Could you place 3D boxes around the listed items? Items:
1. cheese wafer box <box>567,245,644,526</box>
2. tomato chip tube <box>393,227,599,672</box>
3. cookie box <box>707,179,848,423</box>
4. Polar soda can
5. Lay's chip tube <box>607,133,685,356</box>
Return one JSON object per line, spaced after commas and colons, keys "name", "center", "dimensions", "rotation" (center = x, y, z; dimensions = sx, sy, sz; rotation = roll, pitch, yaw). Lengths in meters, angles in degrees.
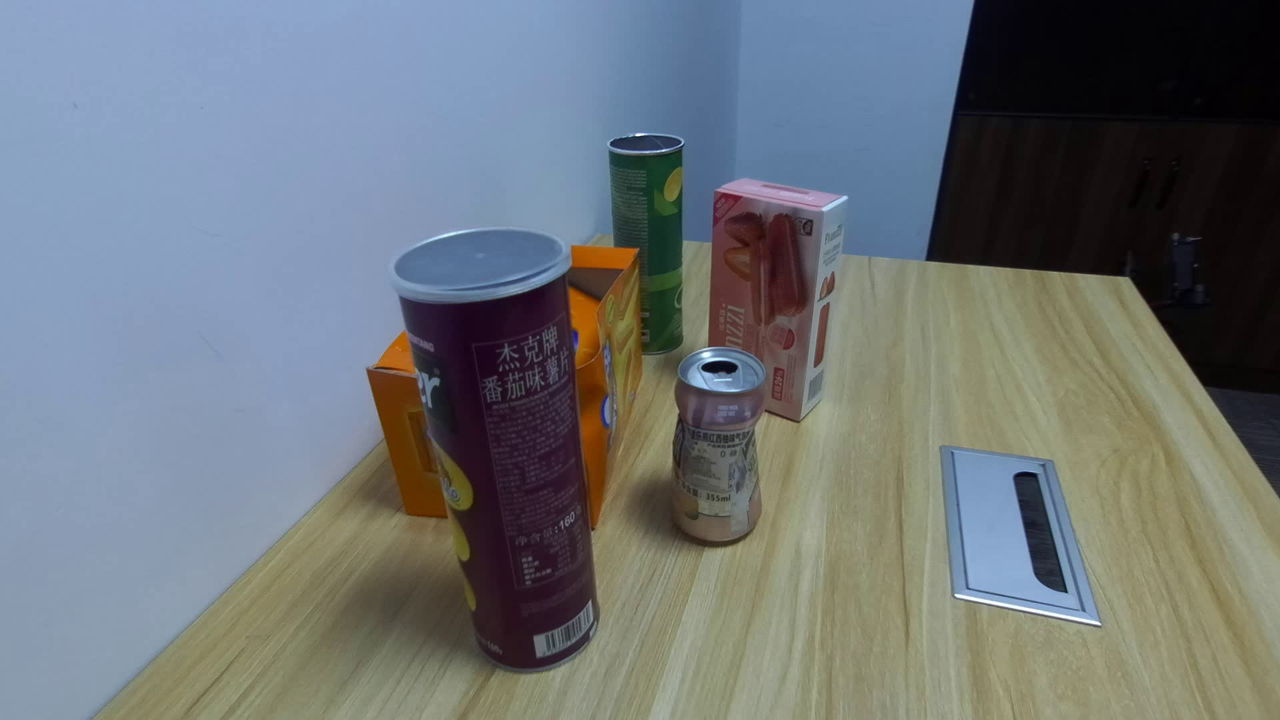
{"name": "cheese wafer box", "center": [-0.084, 0.011, 0.560], "dimensions": [0.152, 0.132, 0.230], "rotation": [5, 30, 7]}
{"name": "tomato chip tube", "center": [-0.065, 0.057, 0.369], "dimensions": [0.078, 0.234, 0.078], "rotation": [-2, 29, 1]}
{"name": "cookie box", "center": [0.109, -0.048, 0.587], "dimensions": [0.096, 0.185, 0.048], "rotation": [18, 34, 30]}
{"name": "Polar soda can", "center": [0.054, 0.058, 0.472], "dimensions": [0.074, 0.122, 0.067], "rotation": [-23, 36, -31]}
{"name": "Lay's chip tube", "center": [0.008, -0.109, 0.682], "dimensions": [0.071, 0.203, 0.071], "rotation": [-1, 30, 1]}
